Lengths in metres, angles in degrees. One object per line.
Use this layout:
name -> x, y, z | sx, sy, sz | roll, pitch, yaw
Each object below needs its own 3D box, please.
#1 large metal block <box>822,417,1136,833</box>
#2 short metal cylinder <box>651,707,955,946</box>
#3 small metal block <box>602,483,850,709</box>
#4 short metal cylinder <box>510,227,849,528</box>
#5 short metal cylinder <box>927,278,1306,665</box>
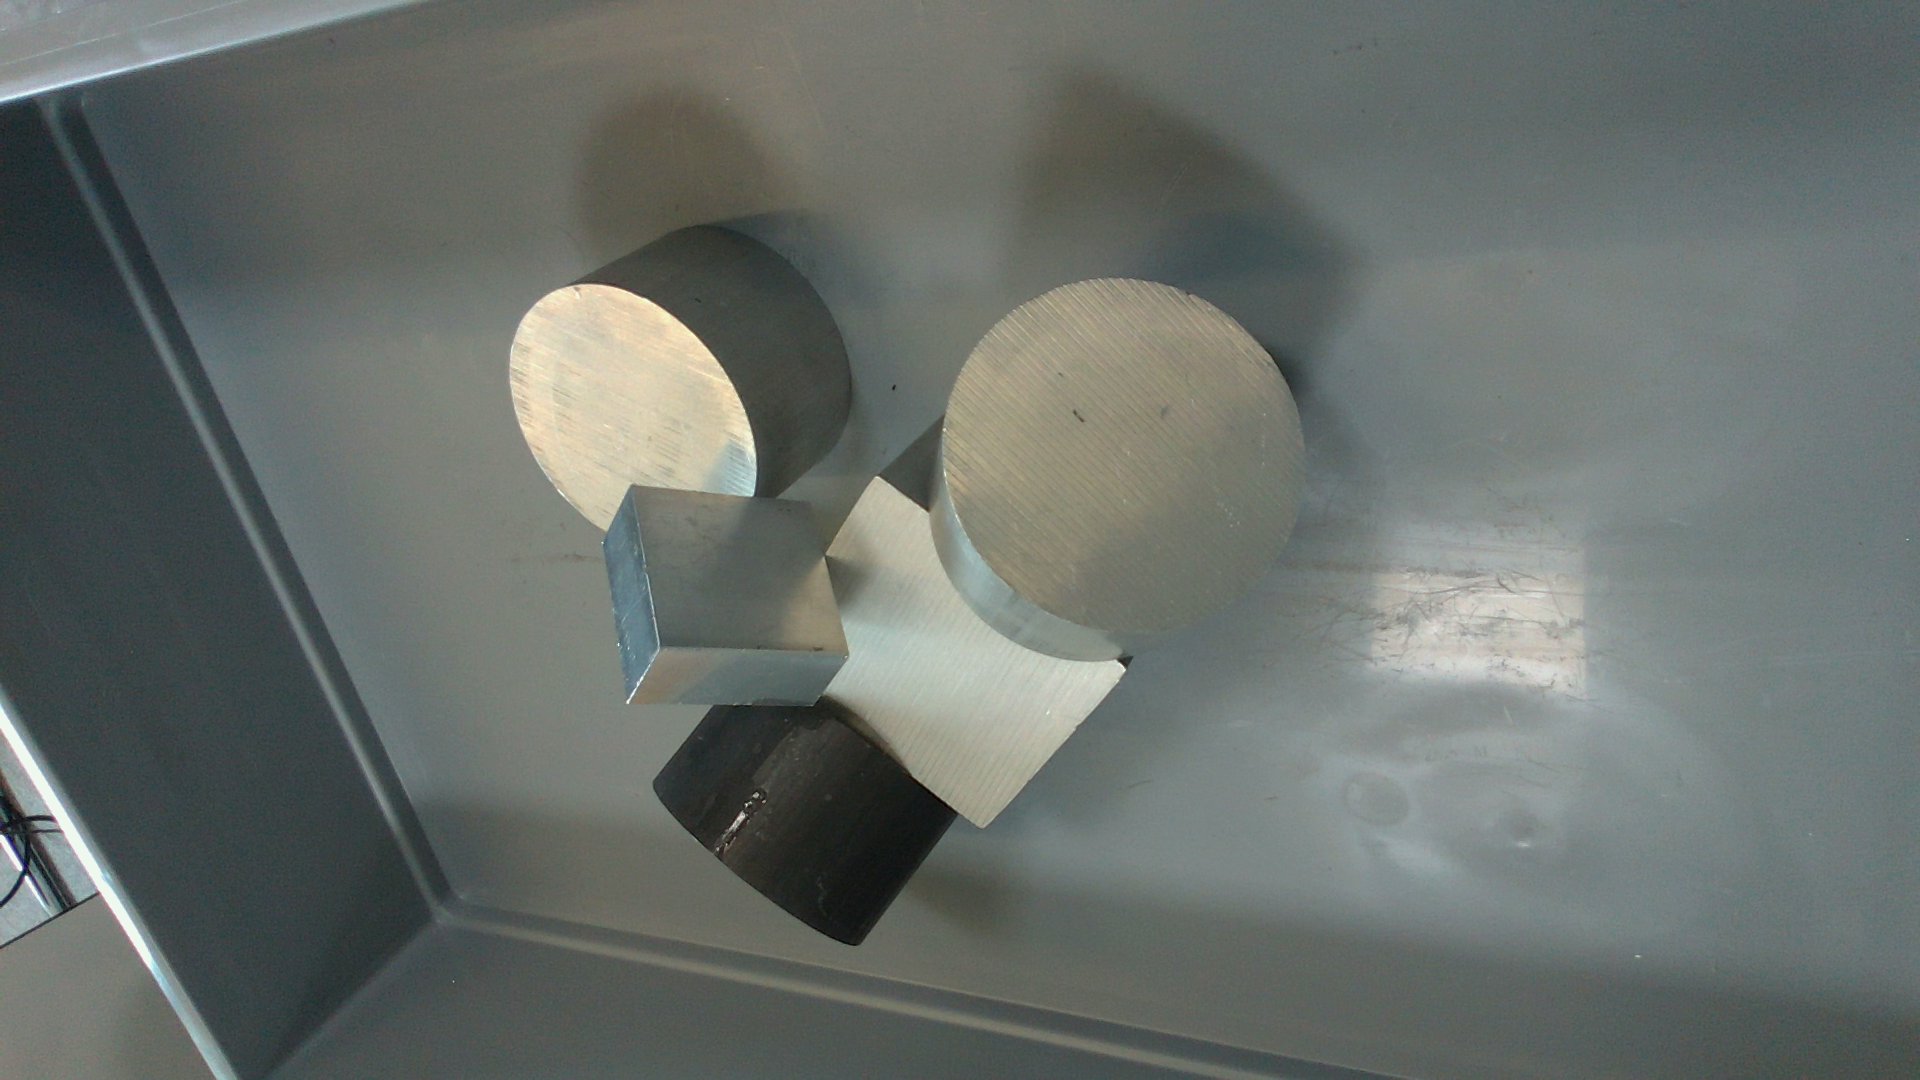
large metal block -> 0.003, 0.021, 0.384 | 0.080, 0.050, 0.080 | 38, 129, 3
short metal cylinder -> -0.047, 0.078, 0.421 | 0.080, 0.080, 0.050 | 37, 85, 5
small metal block -> -0.061, 0.015, 0.353 | 0.025, 0.050, 0.050 | -53, 44, 41
short metal cylinder -> -0.079, -0.043, 0.392 | 0.080, 0.050, 0.080 | 13, 124, 21
short metal cylinder -> 0.034, -0.014, 0.320 | 0.080, 0.080, 0.050 | 37, 168, 3
